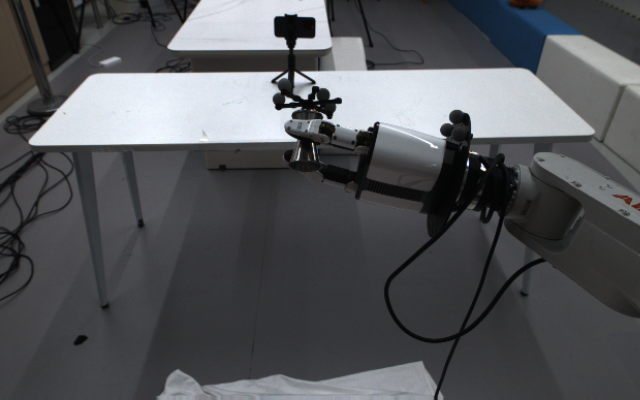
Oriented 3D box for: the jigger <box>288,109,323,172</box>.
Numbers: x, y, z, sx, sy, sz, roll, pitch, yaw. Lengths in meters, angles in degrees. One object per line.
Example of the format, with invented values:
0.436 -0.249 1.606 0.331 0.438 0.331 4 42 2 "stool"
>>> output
-0.019 -0.075 0.607 0.043 0.043 0.071 3 76 1 "jigger"
